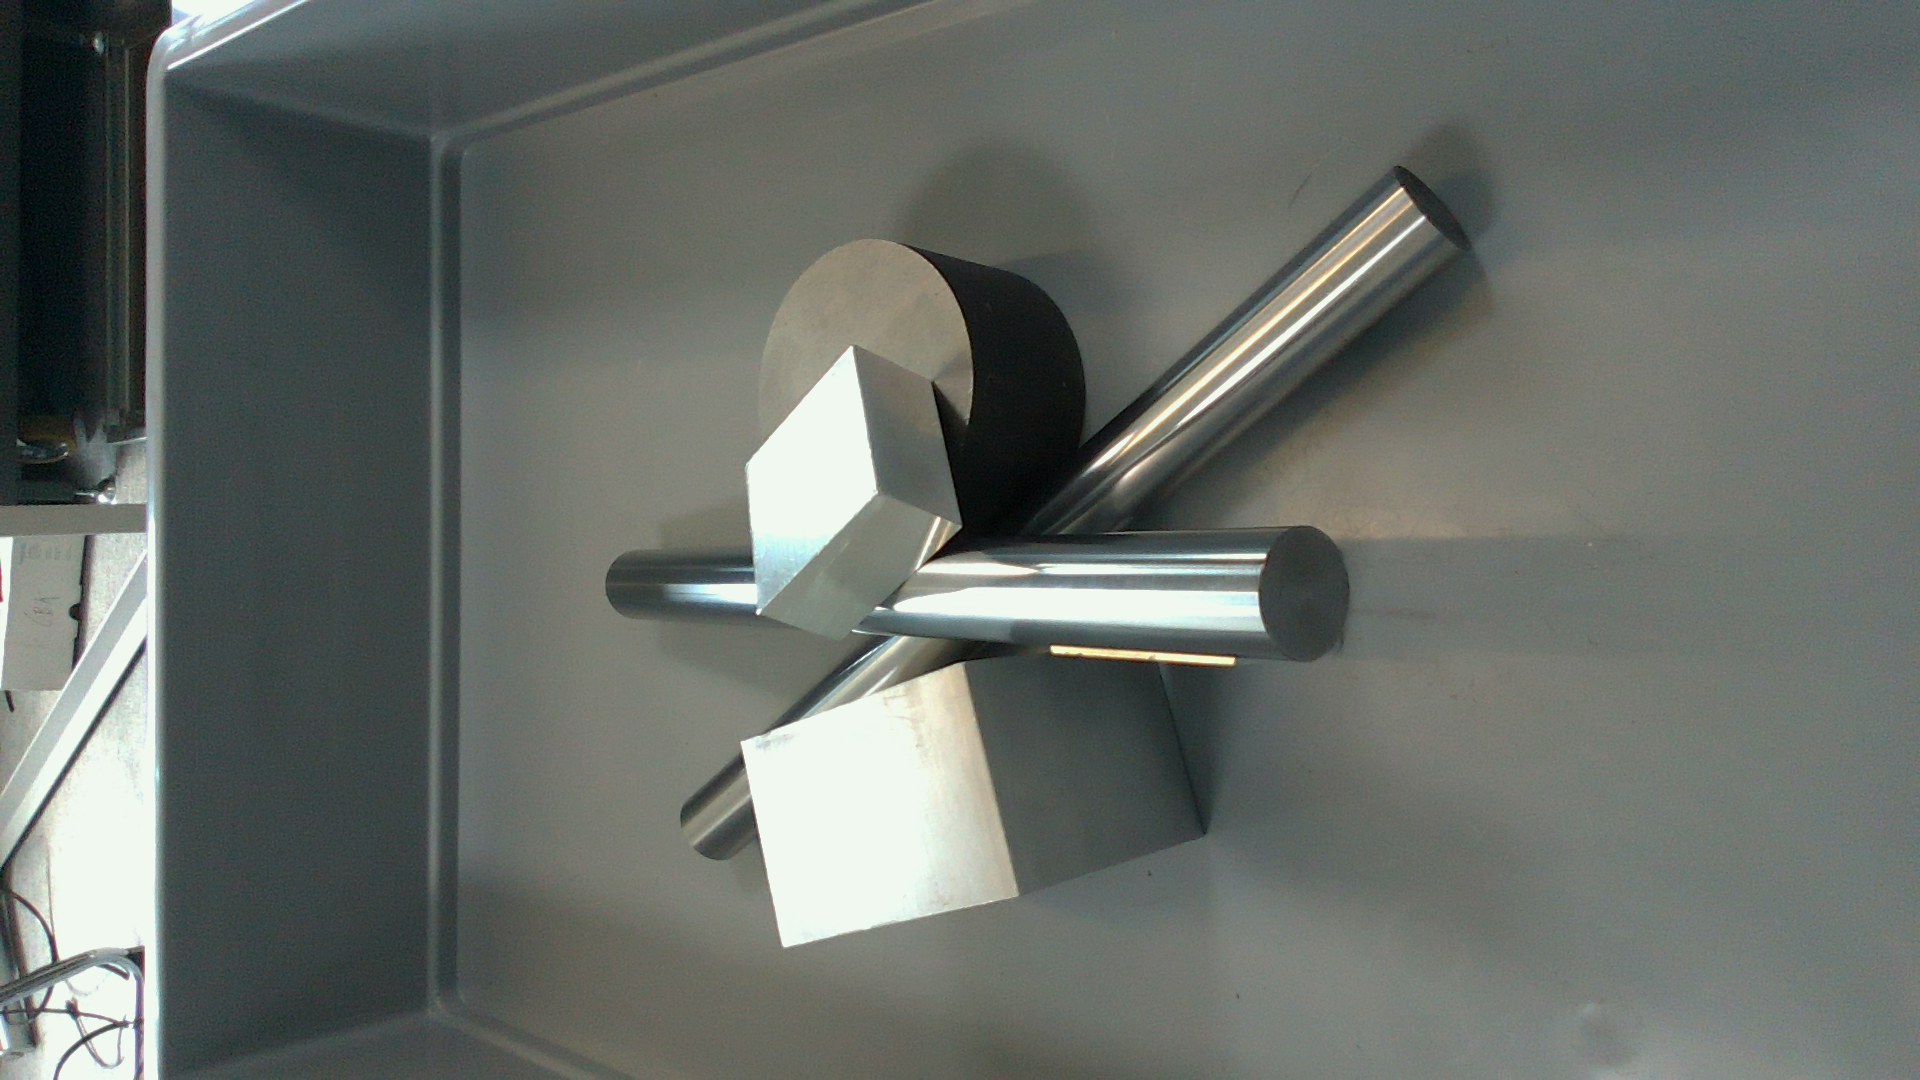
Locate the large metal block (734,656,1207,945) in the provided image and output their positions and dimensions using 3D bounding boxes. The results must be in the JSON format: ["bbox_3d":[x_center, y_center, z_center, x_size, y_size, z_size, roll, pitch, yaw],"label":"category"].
[{"bbox_3d":[0.003,0.065,0.354,0.080,0.080,0.050,-23,75,38],"label":"large metal block"}]

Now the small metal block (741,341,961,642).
[{"bbox_3d":[-0.029,-0.011,0.341,0.050,0.025,0.050,-43,41,32],"label":"small metal block"}]

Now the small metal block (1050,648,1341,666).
[{"bbox_3d":[0.057,0.015,0.330,0.050,0.050,0.025,0,90,41],"label":"small metal block"}]

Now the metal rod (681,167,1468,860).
[{"bbox_3d":[0.011,0.012,0.385,0.299,0.025,0.025,-42,64,32],"label":"metal rod"}]

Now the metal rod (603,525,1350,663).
[{"bbox_3d":[-0.026,0.013,0.369,0.299,0.025,0.025,-2,89,53],"label":"metal rod"}]

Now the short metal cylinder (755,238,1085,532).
[{"bbox_3d":[-0.012,-0.040,0.387,0.080,0.050,0.080,-1,89,40],"label":"short metal cylinder"}]
